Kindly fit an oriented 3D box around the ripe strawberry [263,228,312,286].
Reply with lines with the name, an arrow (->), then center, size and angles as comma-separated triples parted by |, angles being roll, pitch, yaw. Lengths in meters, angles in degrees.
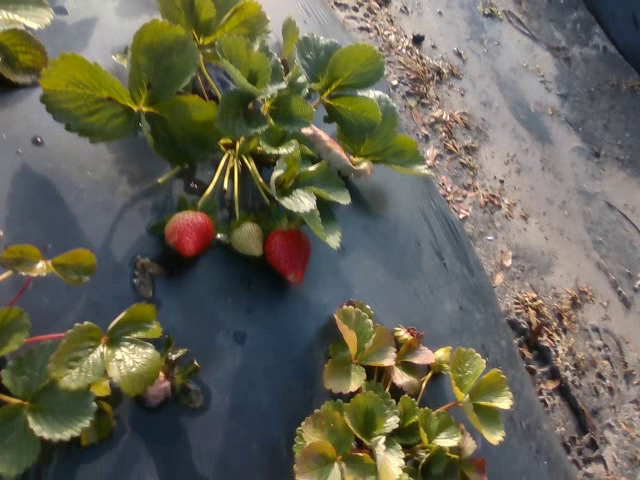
ripe strawberry -> -0.030, 0.018, 0.549 | 0.048, 0.065, 0.050 | -12, -17, 11
